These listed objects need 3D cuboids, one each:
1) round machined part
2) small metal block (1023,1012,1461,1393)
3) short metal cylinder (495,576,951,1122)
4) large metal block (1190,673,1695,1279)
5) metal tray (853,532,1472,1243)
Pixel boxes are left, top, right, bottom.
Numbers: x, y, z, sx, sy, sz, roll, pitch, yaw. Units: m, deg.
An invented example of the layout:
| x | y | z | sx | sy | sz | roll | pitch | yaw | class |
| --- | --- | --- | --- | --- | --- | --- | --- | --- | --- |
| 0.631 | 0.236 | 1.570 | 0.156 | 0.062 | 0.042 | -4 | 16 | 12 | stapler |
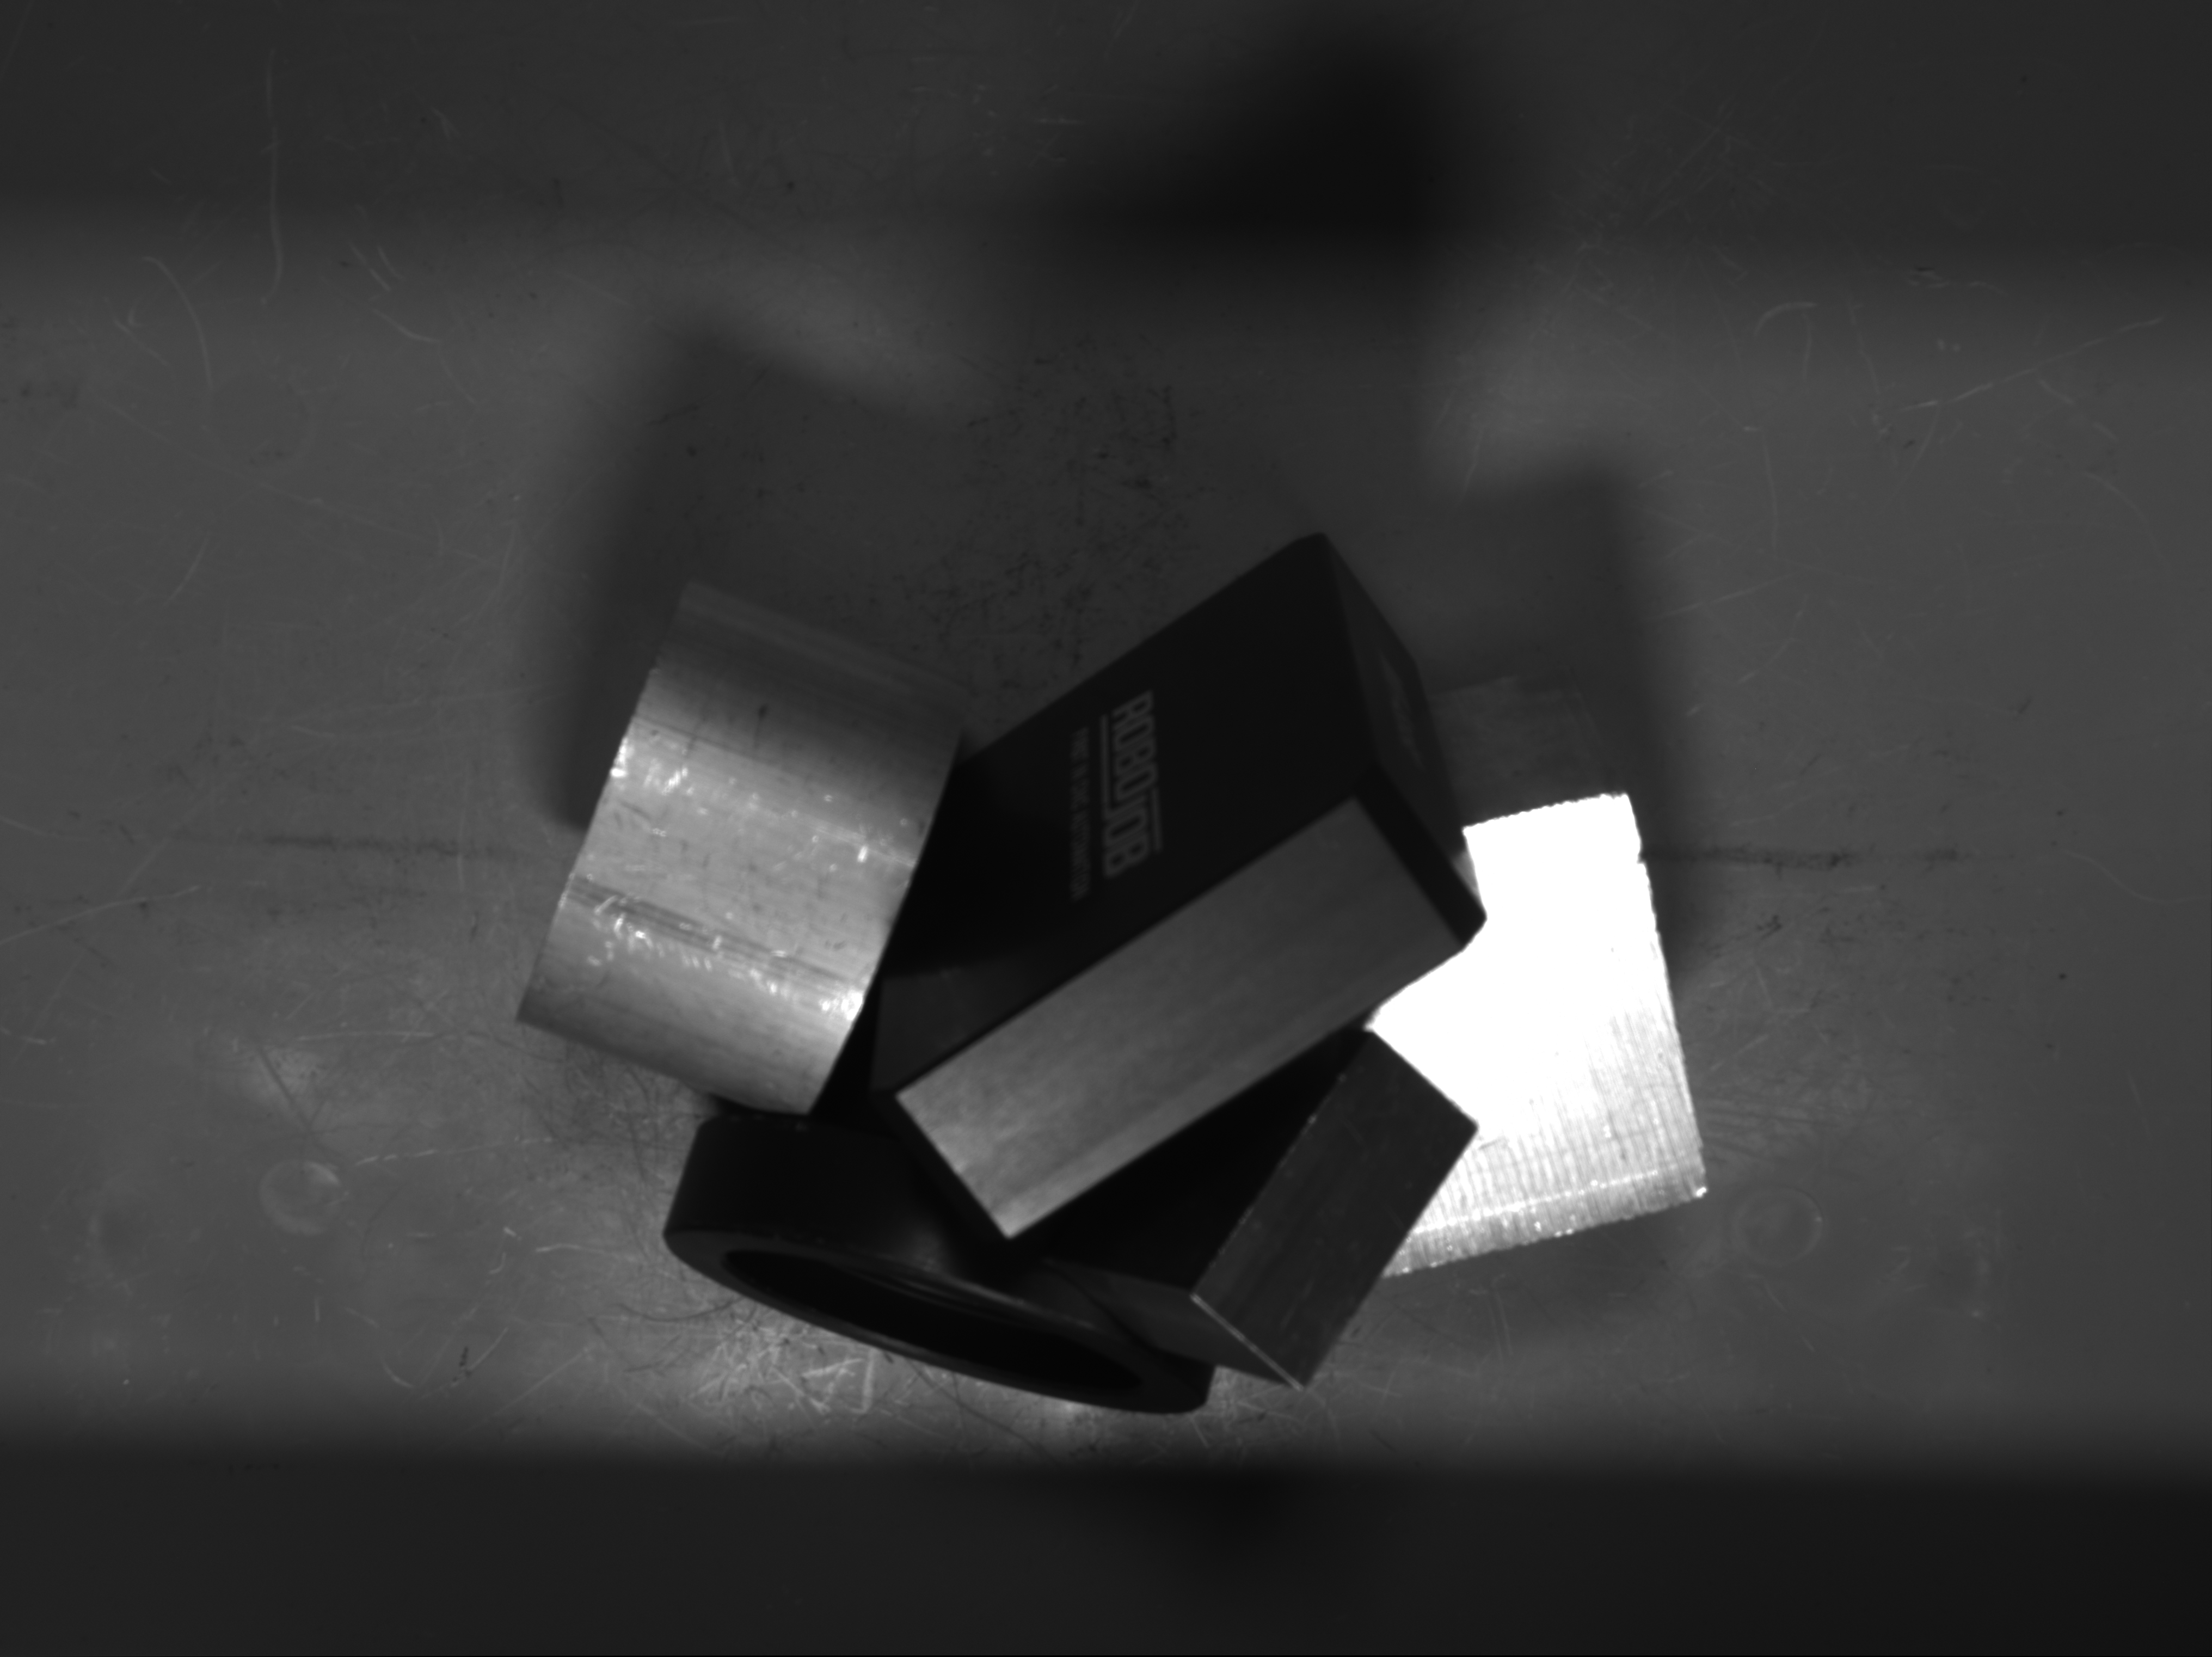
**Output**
| x | y | z | sx | sy | sz | roll | pitch | yaw | class |
| --- | --- | --- | --- | --- | --- | --- | --- | --- | --- |
| -0.027 | 0.067 | 0.637 | 0.098 | 0.098 | 0.042 | 19 | 73 | -7 | round machined part |
| 0.021 | 0.058 | 0.577 | 0.025 | 0.050 | 0.050 | 42 | 72 | -21 | small metal block |
| -0.064 | 0.004 | 0.613 | 0.050 | 0.080 | 0.080 | 21 | 108 | -8 | short metal cylinder |
| 0.051 | 0.028 | 0.631 | 0.080 | 0.050 | 0.080 | -13 | 114 | 4 | large metal block |
| 0.007 | 0.005 | 0.588 | 0.090 | 0.130 | 0.030 | -34 | 108 | 11 | metal tray |
